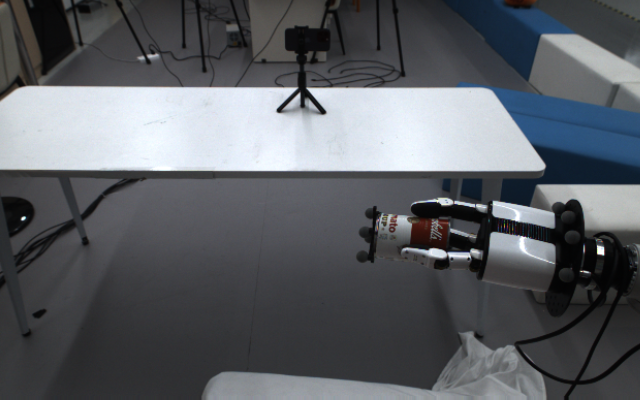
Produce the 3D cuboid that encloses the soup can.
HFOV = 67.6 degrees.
[{"bbox_3d":[0.135,0.056,0.694,0.101,0.067,0.067,5,35,13],"label":"soup can"}]
